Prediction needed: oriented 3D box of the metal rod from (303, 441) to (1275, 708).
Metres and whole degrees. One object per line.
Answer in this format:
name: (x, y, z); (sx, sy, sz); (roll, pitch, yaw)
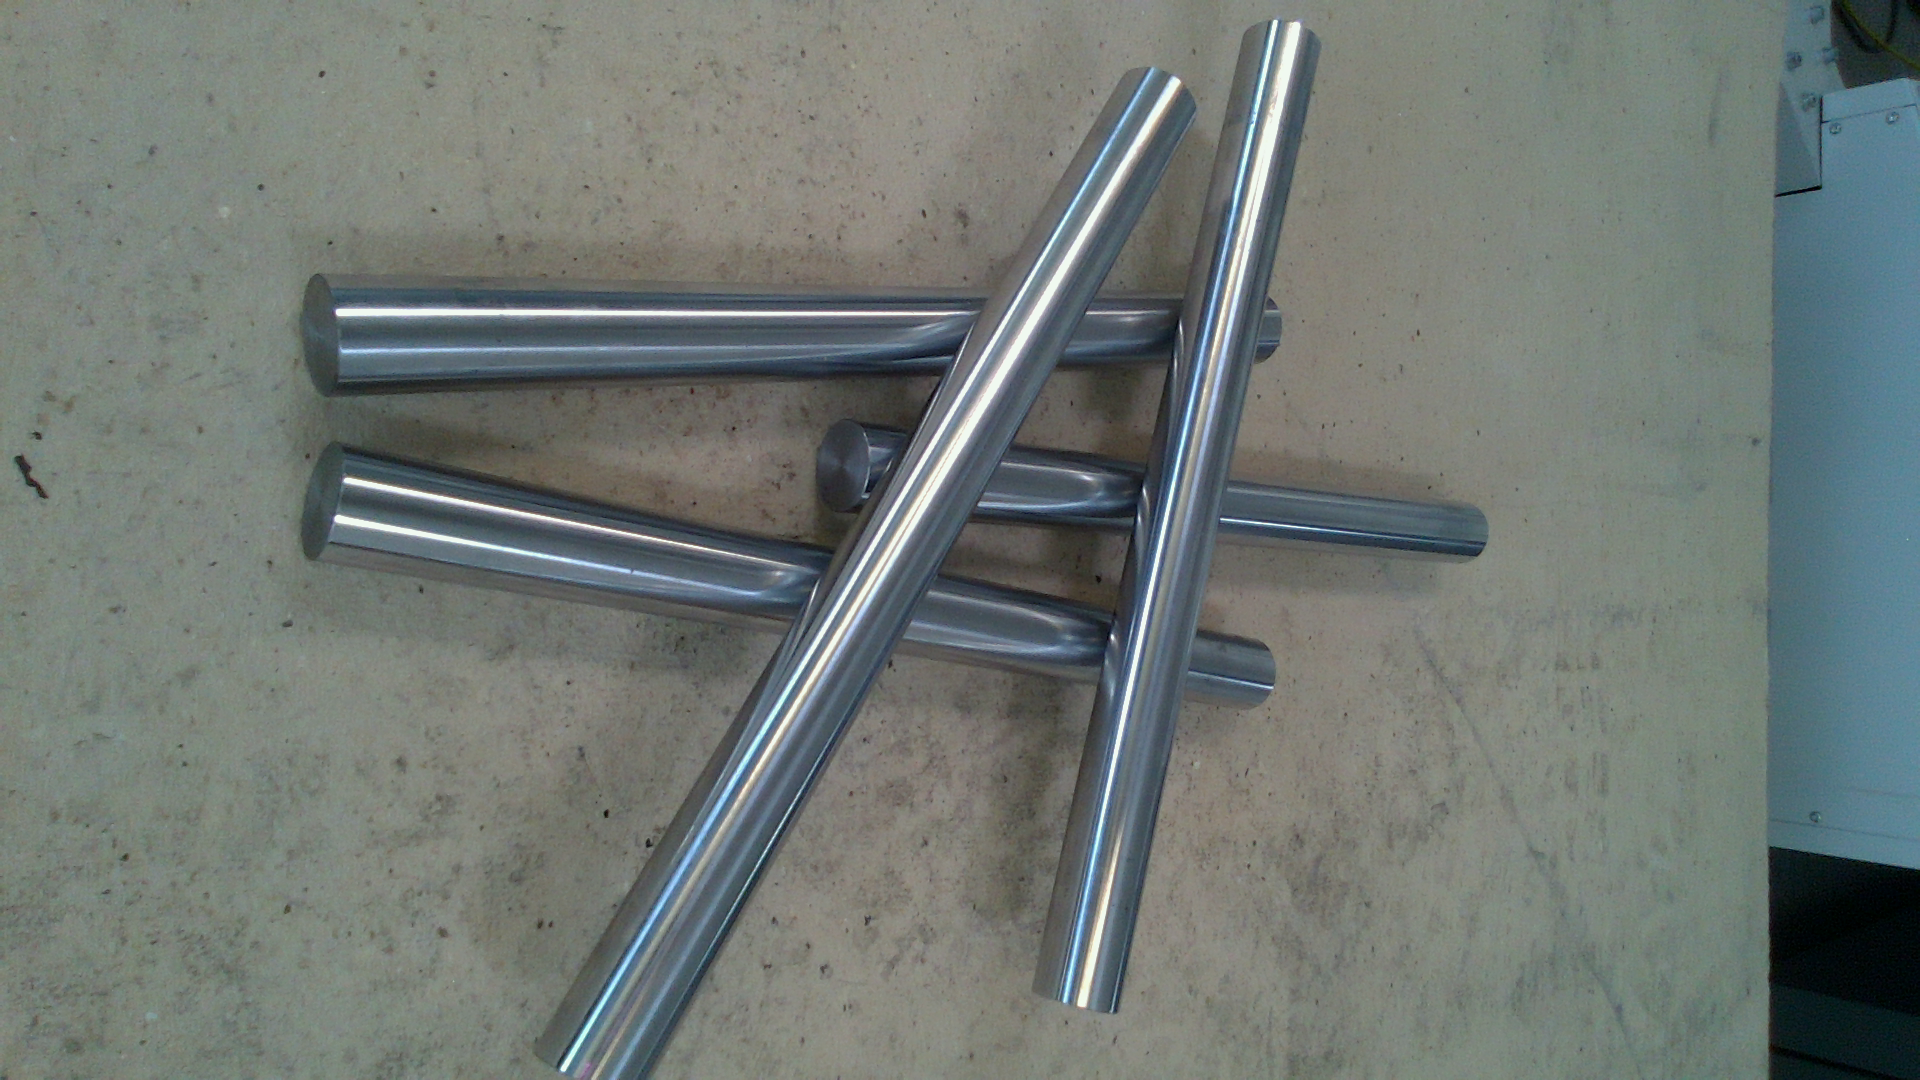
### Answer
metal rod: (-0.016, 0.019, 0.375); (0.301, 0.025, 0.025); (13, 82, -39)

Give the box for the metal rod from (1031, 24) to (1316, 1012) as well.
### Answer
metal rod: (0.067, -0.015, 0.412); (0.025, 0.025, 0.300); (22, 76, -38)

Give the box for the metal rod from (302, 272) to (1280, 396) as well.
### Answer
metal rod: (-0.015, -0.057, 0.376); (0.301, 0.025, 0.025); (-8, 95, -40)

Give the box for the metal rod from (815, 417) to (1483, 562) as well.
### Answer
metal rod: (0.084, -0.012, 0.459); (0.301, 0.025, 0.025); (4, 87, -40)

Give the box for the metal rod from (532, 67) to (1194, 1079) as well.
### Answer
metal rod: (-0.011, -0.008, 0.347); (0.025, 0.025, 0.300); (44, 64, -31)
